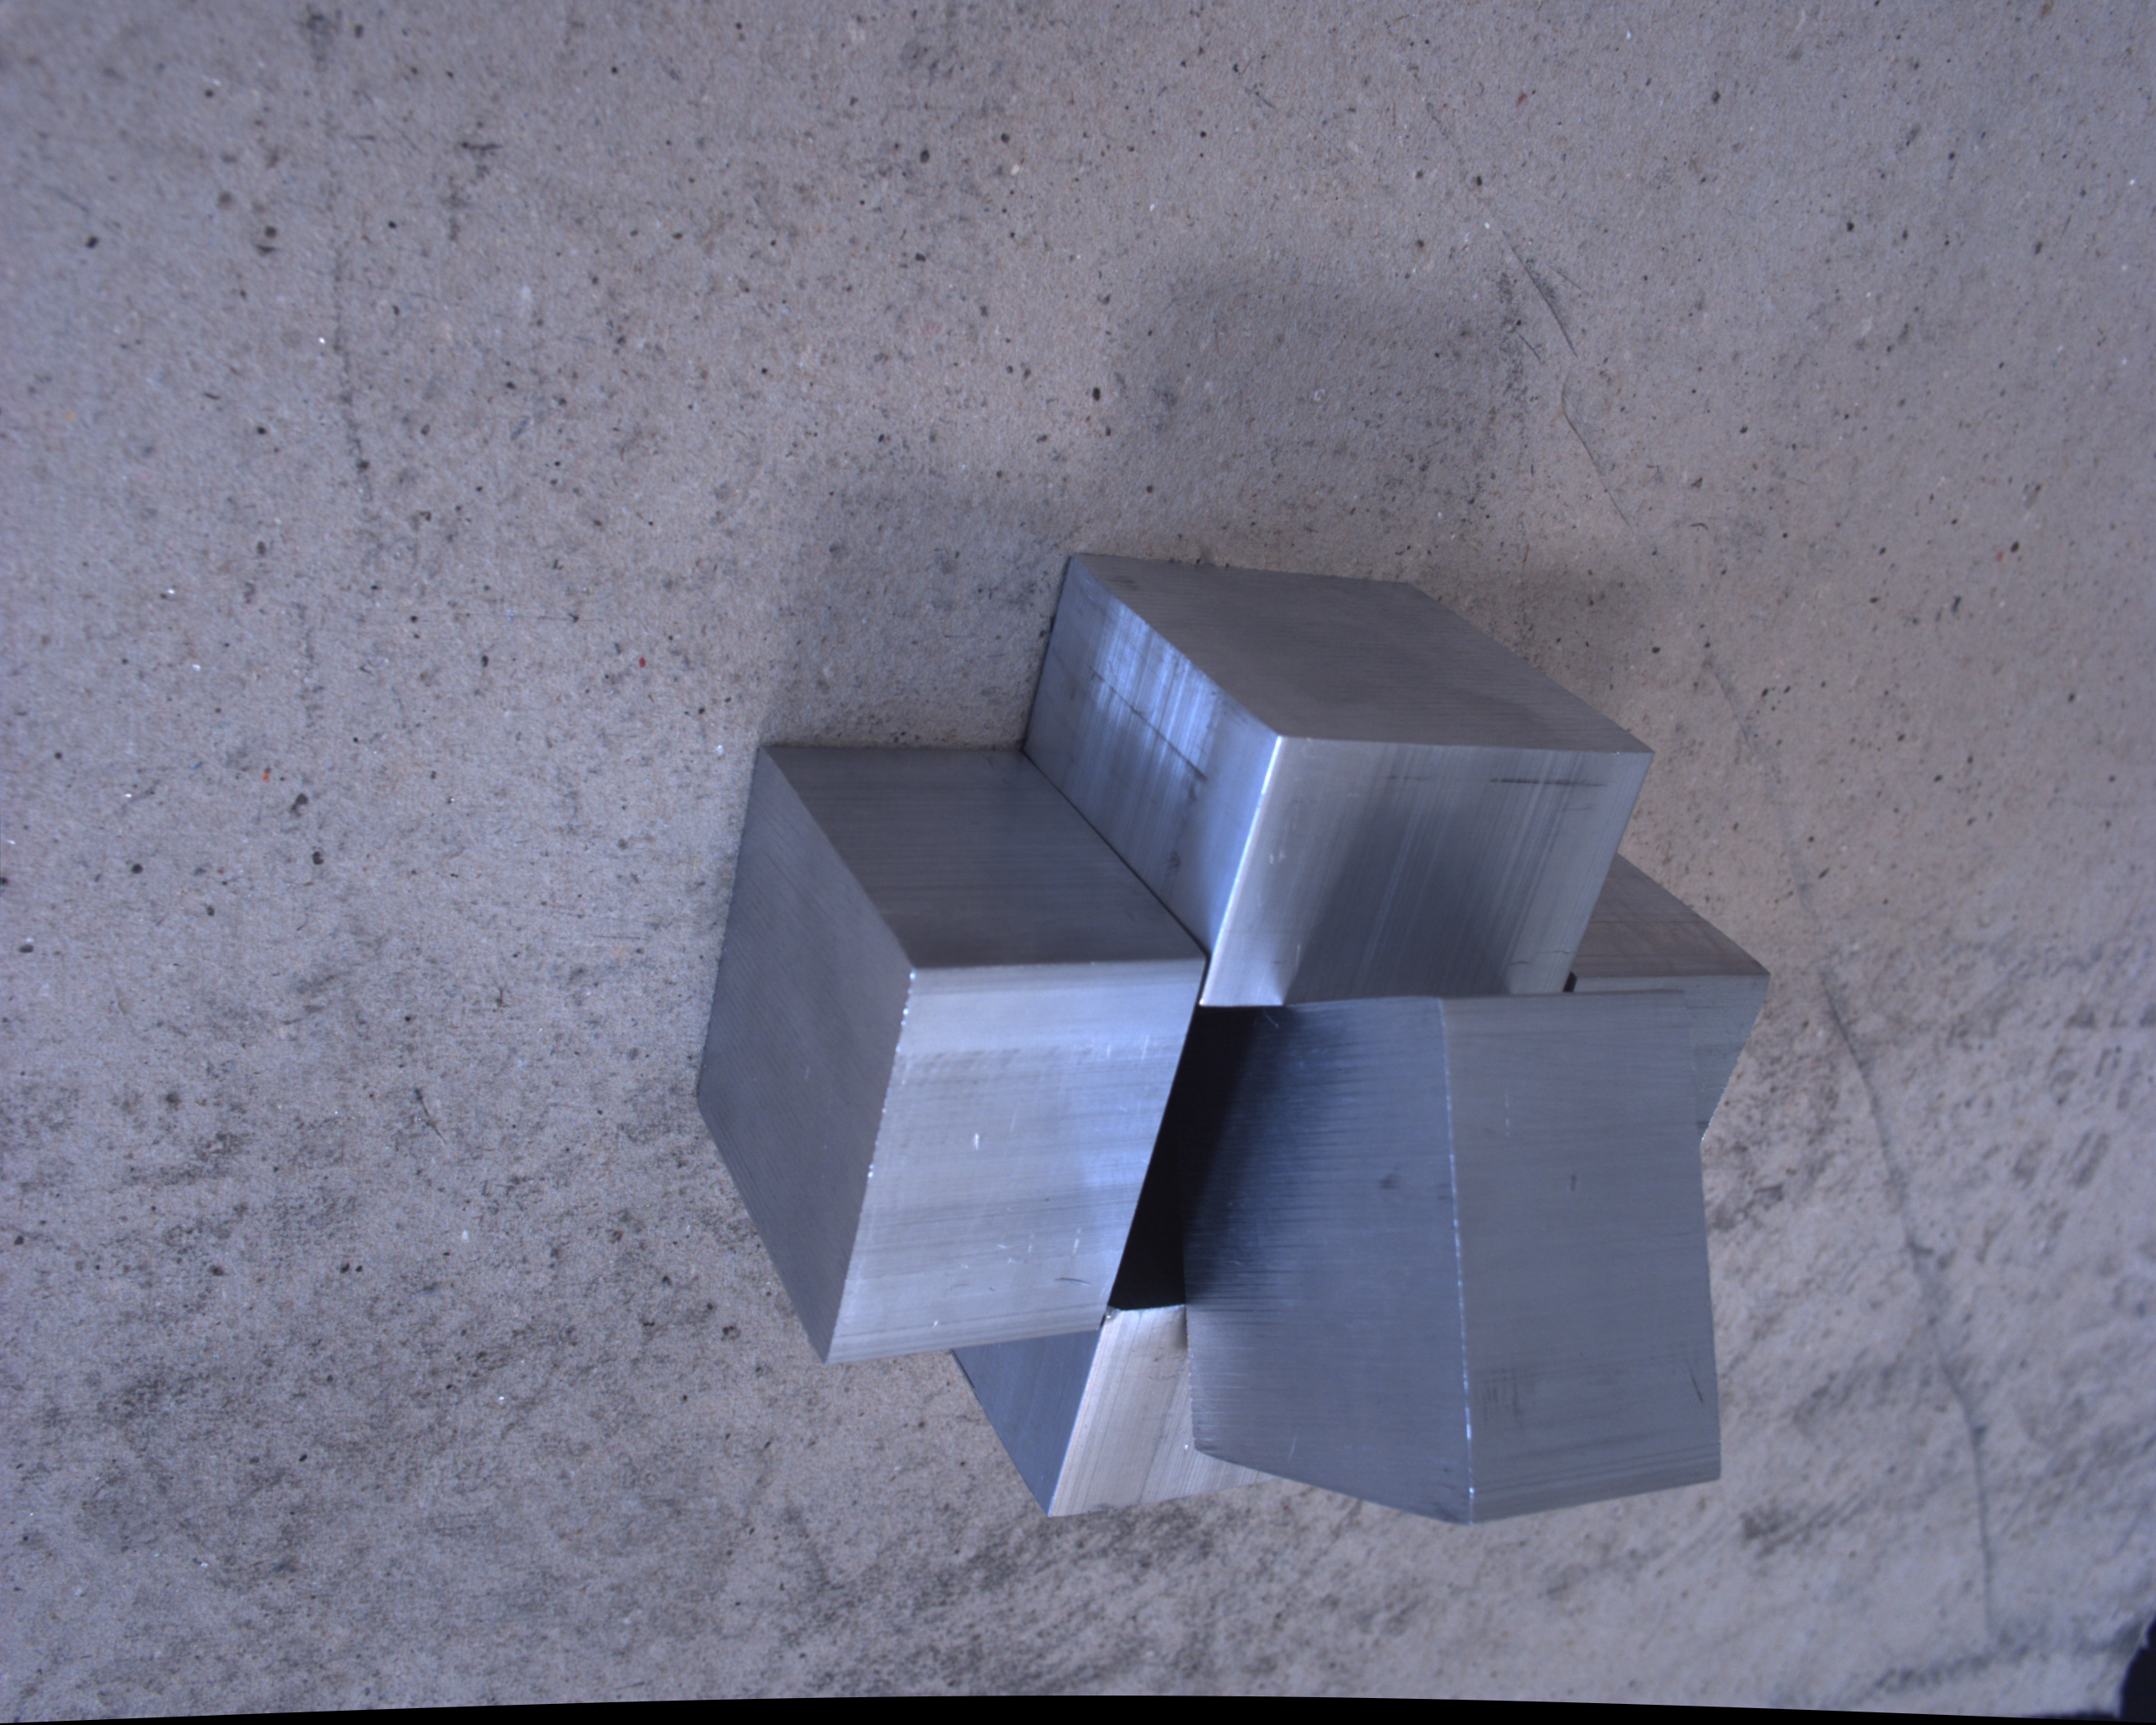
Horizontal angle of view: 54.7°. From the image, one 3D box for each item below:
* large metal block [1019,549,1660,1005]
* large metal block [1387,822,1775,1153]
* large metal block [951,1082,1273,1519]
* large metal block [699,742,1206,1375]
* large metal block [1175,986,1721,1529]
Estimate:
[{"bbox_3d":[0.044,-0.017,0.387,0.081,0.080,0.050,1,118,-29],"label":"large metal block"},{"bbox_3d":[0.088,0.037,0.444,0.050,0.080,0.079,1,118,-29],"label":"large metal block"},{"bbox_3d":[0.018,0.083,0.434,0.081,0.080,0.050,0,118,-28],"label":"large metal block"},{"bbox_3d":[-0.027,0.032,0.376,0.050,0.080,0.079,0,118,-28],"label":"large metal block"},{"bbox_3d":[0.060,0.063,0.360,0.050,0.080,0.080,1,84,-29],"label":"large metal block"}]
